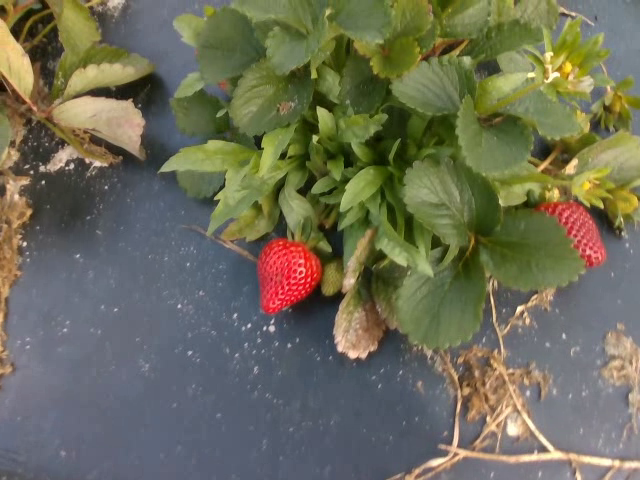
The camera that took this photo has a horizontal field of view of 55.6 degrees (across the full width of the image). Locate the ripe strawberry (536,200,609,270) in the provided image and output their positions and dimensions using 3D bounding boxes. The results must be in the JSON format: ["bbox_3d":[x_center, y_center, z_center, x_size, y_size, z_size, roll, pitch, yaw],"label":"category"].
[{"bbox_3d":[0.139,0.001,0.338,0.046,0.043,0.046,39,10,37],"label":"ripe strawberry"}]

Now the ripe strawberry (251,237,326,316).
[{"bbox_3d":[-0.022,0.022,0.353,0.043,0.051,0.043,19,-20,10],"label":"ripe strawberry"}]
